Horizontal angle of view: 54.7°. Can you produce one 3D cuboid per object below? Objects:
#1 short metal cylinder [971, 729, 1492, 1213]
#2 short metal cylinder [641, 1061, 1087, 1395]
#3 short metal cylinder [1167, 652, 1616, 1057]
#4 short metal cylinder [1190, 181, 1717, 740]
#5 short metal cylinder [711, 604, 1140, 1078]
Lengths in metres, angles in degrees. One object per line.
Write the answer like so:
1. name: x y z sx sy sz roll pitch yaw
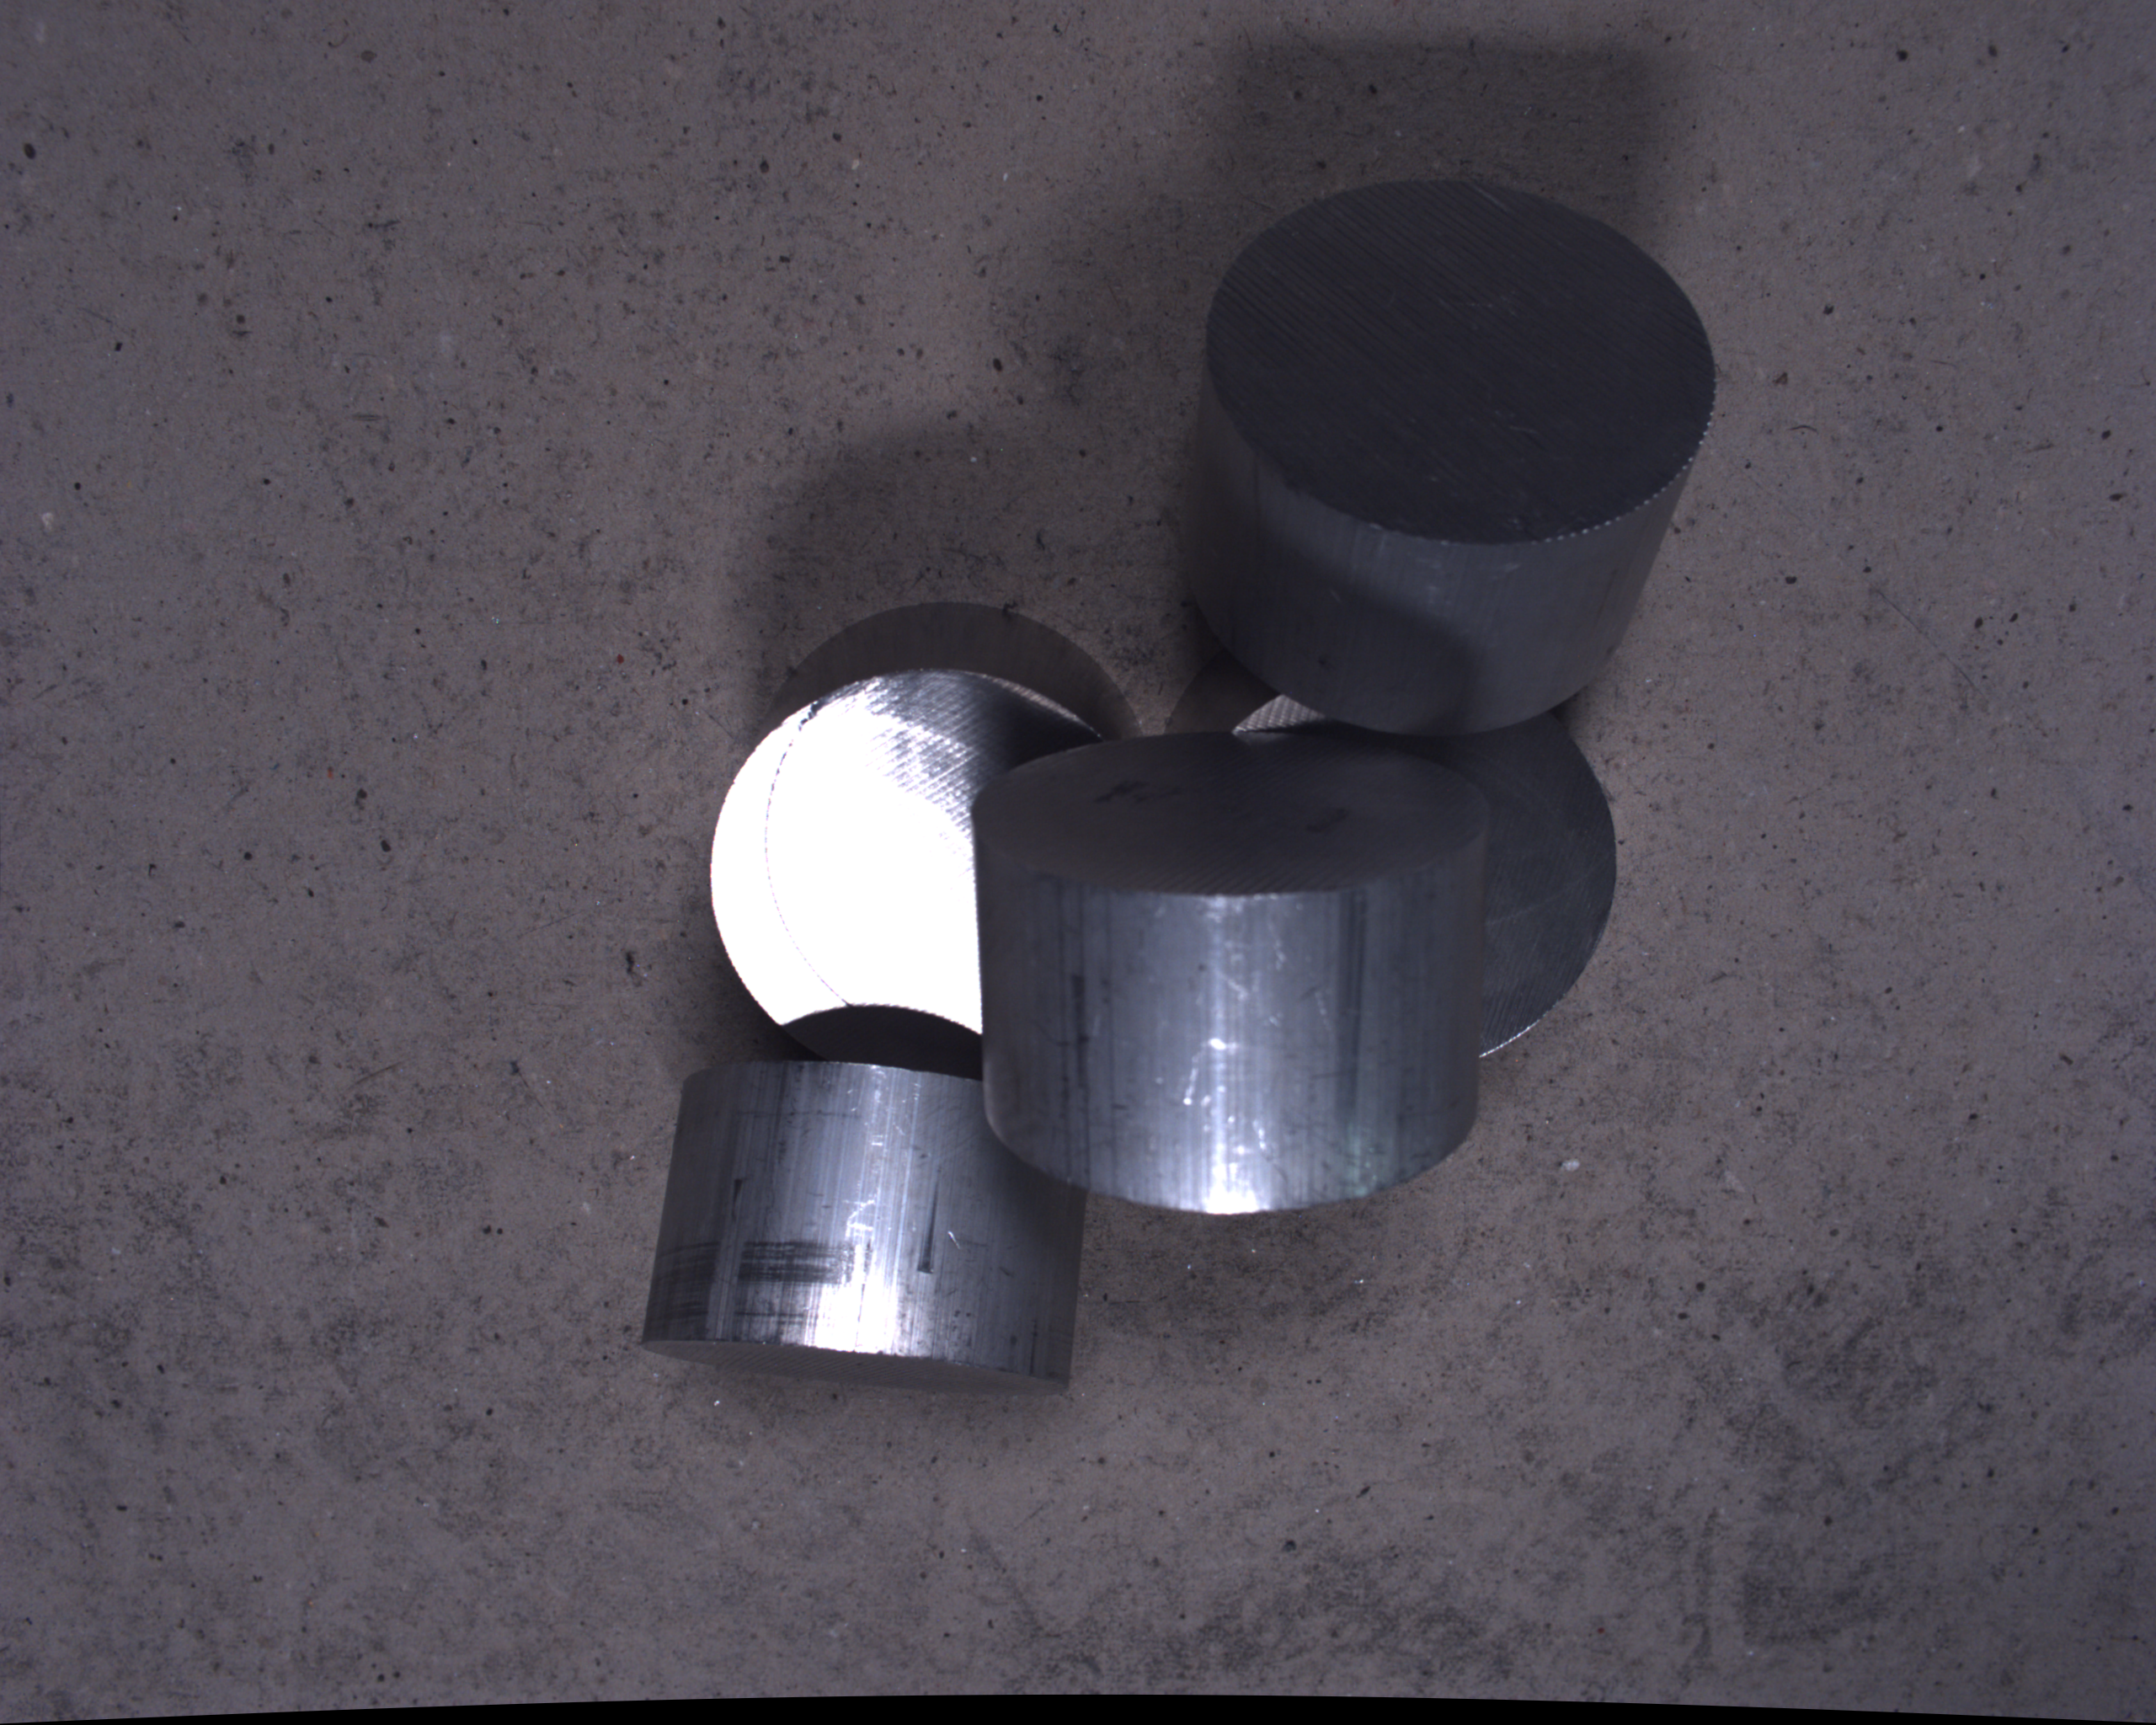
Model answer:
1. short metal cylinder: 0.024 0.014 0.334 0.081 0.080 0.050 -1 110 0
2. short metal cylinder: -0.039 0.072 0.401 0.081 0.080 0.050 7 71 -3
3. short metal cylinder: 0.056 -0.006 0.396 0.081 0.050 0.079 0 110 -1
4. short metal cylinder: 0.060 -0.067 0.350 0.081 0.080 0.050 1 148 -1
5. short metal cylinder: -0.025 -0.004 0.395 0.081 0.050 0.079 0 110 -1
